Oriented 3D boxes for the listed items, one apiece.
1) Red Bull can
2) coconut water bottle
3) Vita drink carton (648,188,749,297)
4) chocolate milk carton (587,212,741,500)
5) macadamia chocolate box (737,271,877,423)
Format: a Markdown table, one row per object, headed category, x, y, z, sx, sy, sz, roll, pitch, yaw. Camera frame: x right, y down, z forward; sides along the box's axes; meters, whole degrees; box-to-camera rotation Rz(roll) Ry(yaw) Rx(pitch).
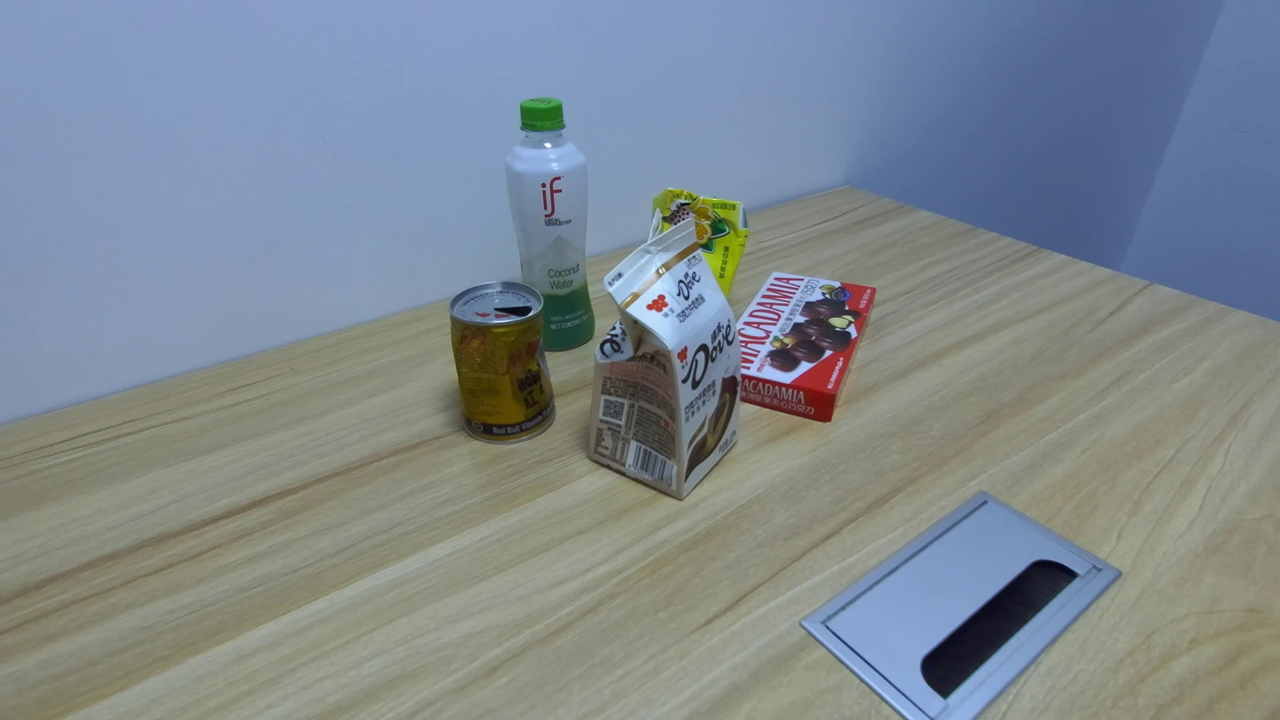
| category | x | y | z | sx | sy | sz | roll | pitch | yaw |
| --- | --- | --- | --- | --- | --- | --- | --- | --- | --- |
| Red Bull can | -0.092 | 0.002 | 0.477 | 0.072 | 0.092 | 0.072 | 0 | 30 | 0 |
| coconut water bottle | -0.071 | -0.102 | 0.549 | 0.063 | 0.189 | 0.063 | -1 | 29 | 1 |
| Vita drink carton | 0.048 | -0.091 | 0.611 | 0.087 | 0.108 | 0.042 | 10 | 18 | 11 |
| chocolate milk carton | 0.015 | -0.006 | 0.425 | 0.073 | 0.156 | 0.076 | 18 | 36 | 30 |
| macadamia chocolate box | 0.127 | -0.018 | 0.568 | 0.095 | 0.027 | 0.178 | 13 | 34 | 22 |
